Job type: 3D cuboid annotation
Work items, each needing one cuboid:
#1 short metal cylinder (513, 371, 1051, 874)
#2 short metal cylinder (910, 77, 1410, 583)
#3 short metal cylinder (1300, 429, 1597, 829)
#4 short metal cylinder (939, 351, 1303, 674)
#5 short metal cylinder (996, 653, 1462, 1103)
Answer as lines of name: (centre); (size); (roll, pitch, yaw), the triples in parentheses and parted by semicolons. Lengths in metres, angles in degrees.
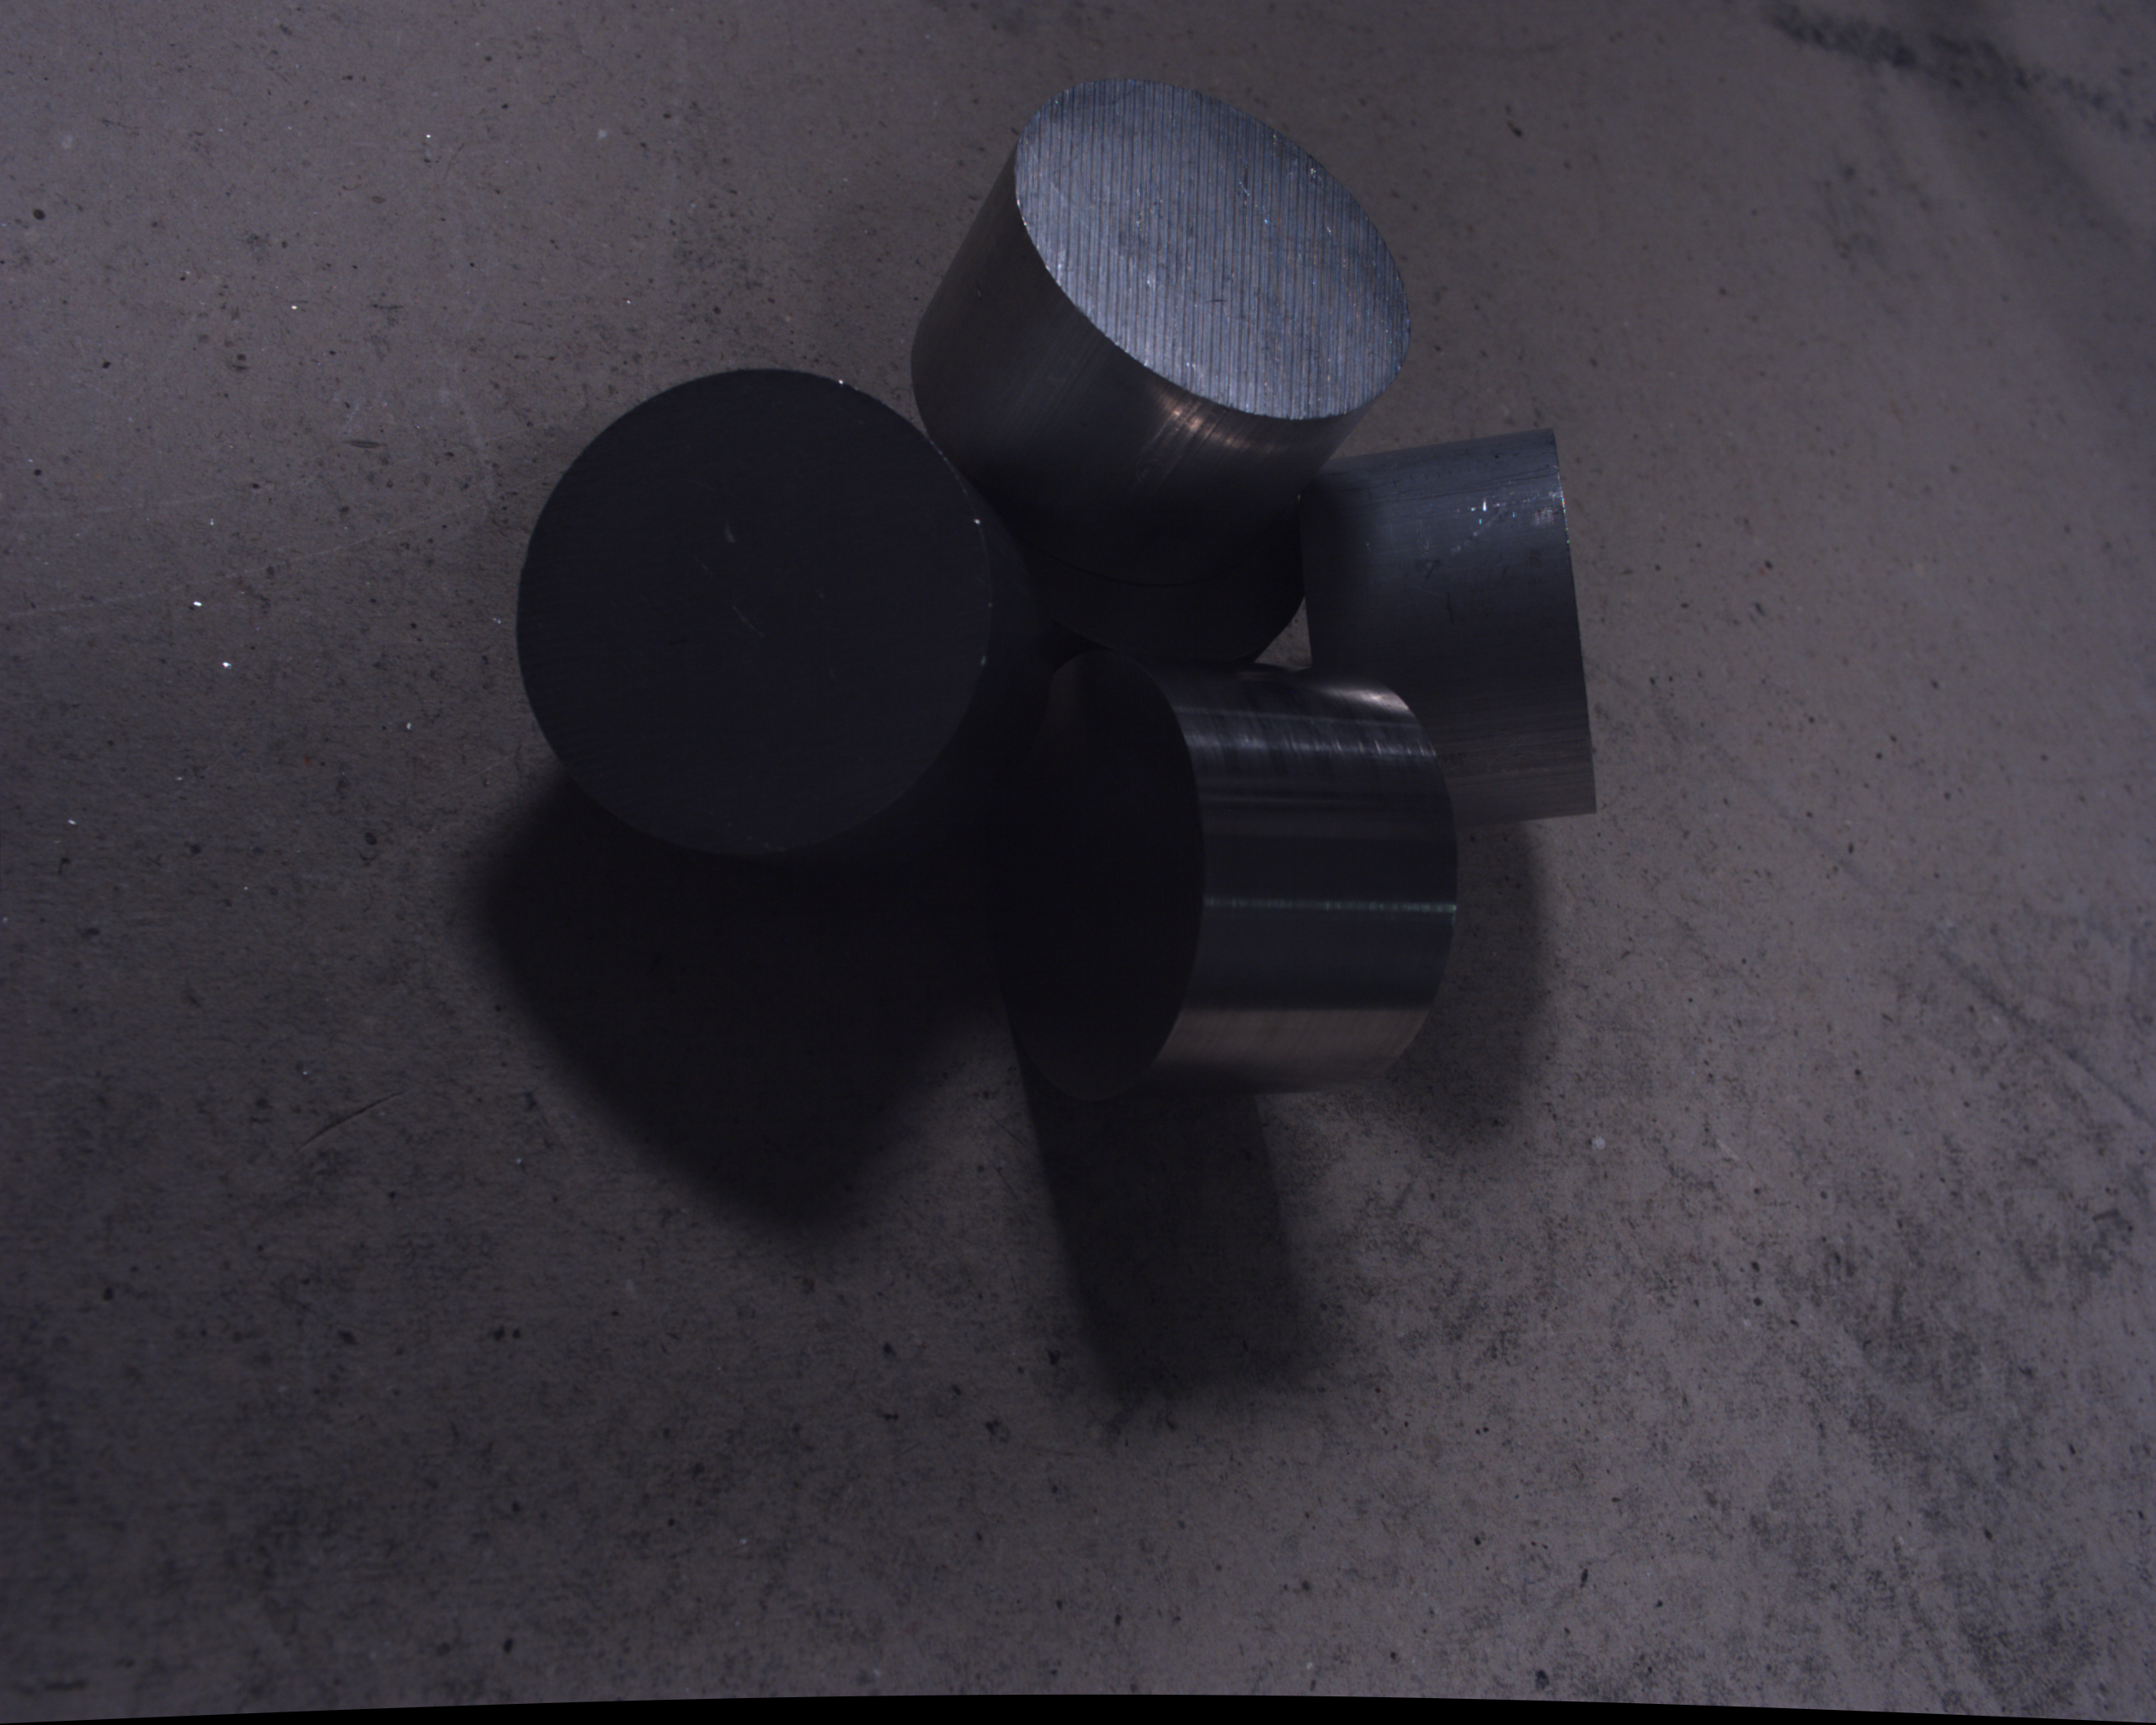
short metal cylinder: (-0.049, -0.039, 0.362); (0.080, 0.050, 0.080); (-1, 85, 10)
short metal cylinder: (0.015, -0.100, 0.395); (0.081, 0.050, 0.080); (14, 56, -21)
short metal cylinder: (0.078, -0.047, 0.435); (0.050, 0.080, 0.080); (-7, 58, 12)
short metal cylinder: (0.000, -0.060, 0.428); (0.081, 0.050, 0.080); (14, 56, -21)
short metal cylinder: (0.025, 0.003, 0.382); (0.050, 0.080, 0.080); (2, 61, -28)
